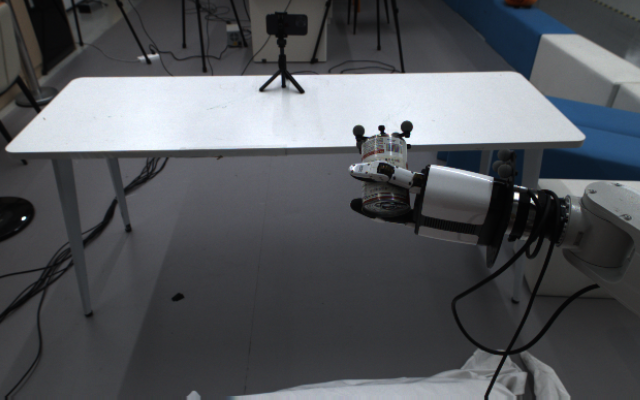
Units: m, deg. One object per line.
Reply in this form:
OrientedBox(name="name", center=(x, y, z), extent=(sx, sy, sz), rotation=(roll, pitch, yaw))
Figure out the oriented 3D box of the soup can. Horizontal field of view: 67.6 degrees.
OrientedBox(name="soup can", center=(0.093, -0.034, 0.686), extent=(0.067, 0.067, 0.101), rotation=(2, 68, -1))
